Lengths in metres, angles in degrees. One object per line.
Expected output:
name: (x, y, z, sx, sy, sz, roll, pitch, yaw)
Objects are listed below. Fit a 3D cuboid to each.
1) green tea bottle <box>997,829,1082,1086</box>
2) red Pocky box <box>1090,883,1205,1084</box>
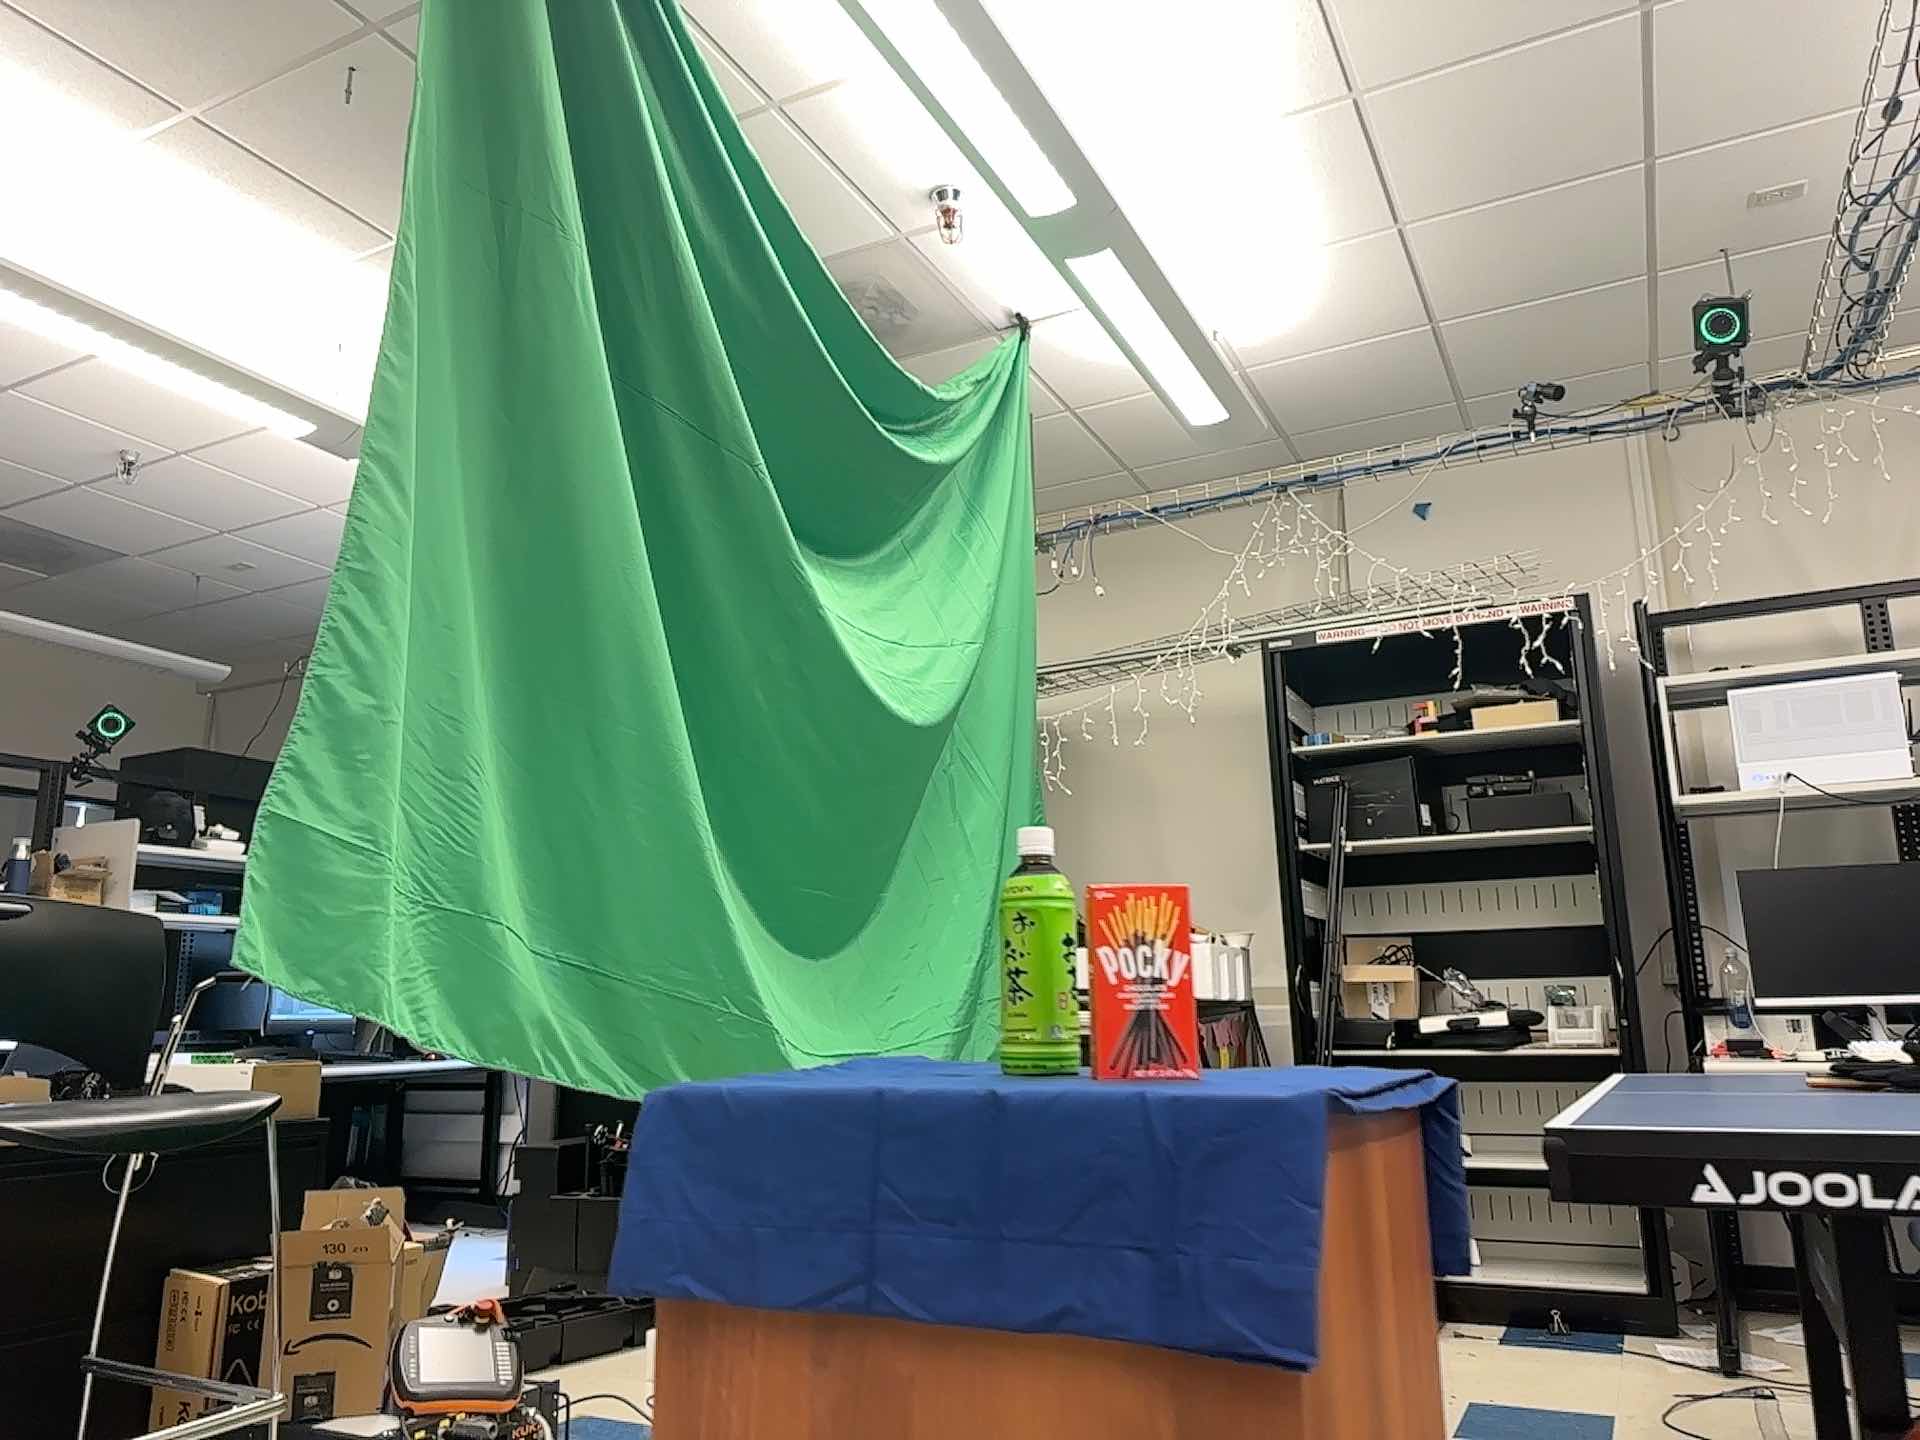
green tea bottle: (0.065, 0.199, 1.139, 0.073, 0.212, 0.073, -2, -12, 0)
red Pocky box: (0.145, 0.204, 1.049, 0.083, 0.155, 0.028, 0, -10, -2)
